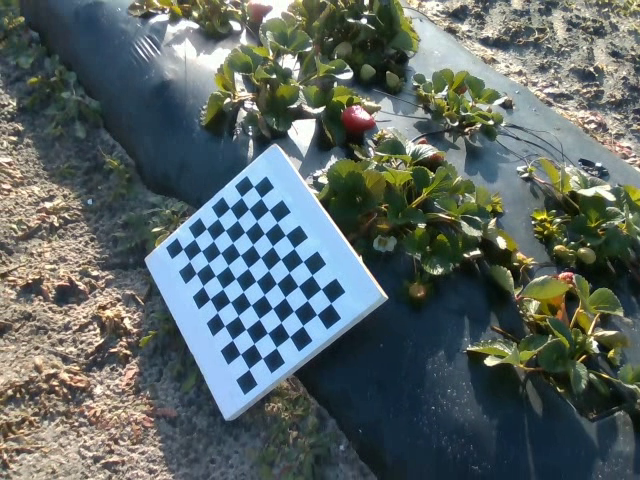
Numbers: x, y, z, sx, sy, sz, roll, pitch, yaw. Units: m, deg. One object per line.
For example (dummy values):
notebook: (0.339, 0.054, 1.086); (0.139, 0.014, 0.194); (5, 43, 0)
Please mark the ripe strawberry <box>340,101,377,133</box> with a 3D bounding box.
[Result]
ripe strawberry: (0.070, -0.199, 1.066); (0.072, 0.057, 0.055); (27, -3, 38)
